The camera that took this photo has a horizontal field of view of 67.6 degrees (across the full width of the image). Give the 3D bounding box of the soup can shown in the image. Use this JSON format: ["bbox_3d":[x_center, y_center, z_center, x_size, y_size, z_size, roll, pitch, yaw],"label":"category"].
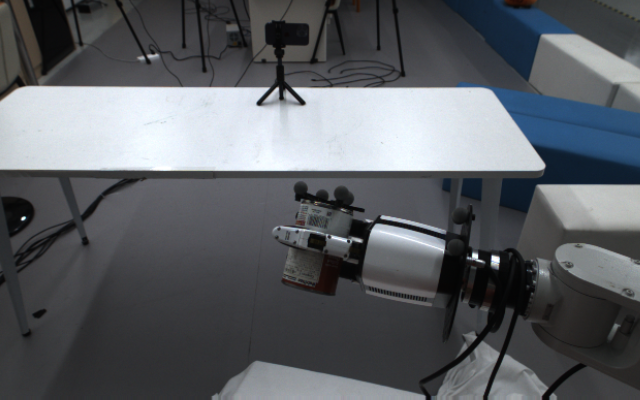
[{"bbox_3d":[-0.001,0.057,0.581,0.067,0.101,0.067,13,-6,1],"label":"soup can"}]
